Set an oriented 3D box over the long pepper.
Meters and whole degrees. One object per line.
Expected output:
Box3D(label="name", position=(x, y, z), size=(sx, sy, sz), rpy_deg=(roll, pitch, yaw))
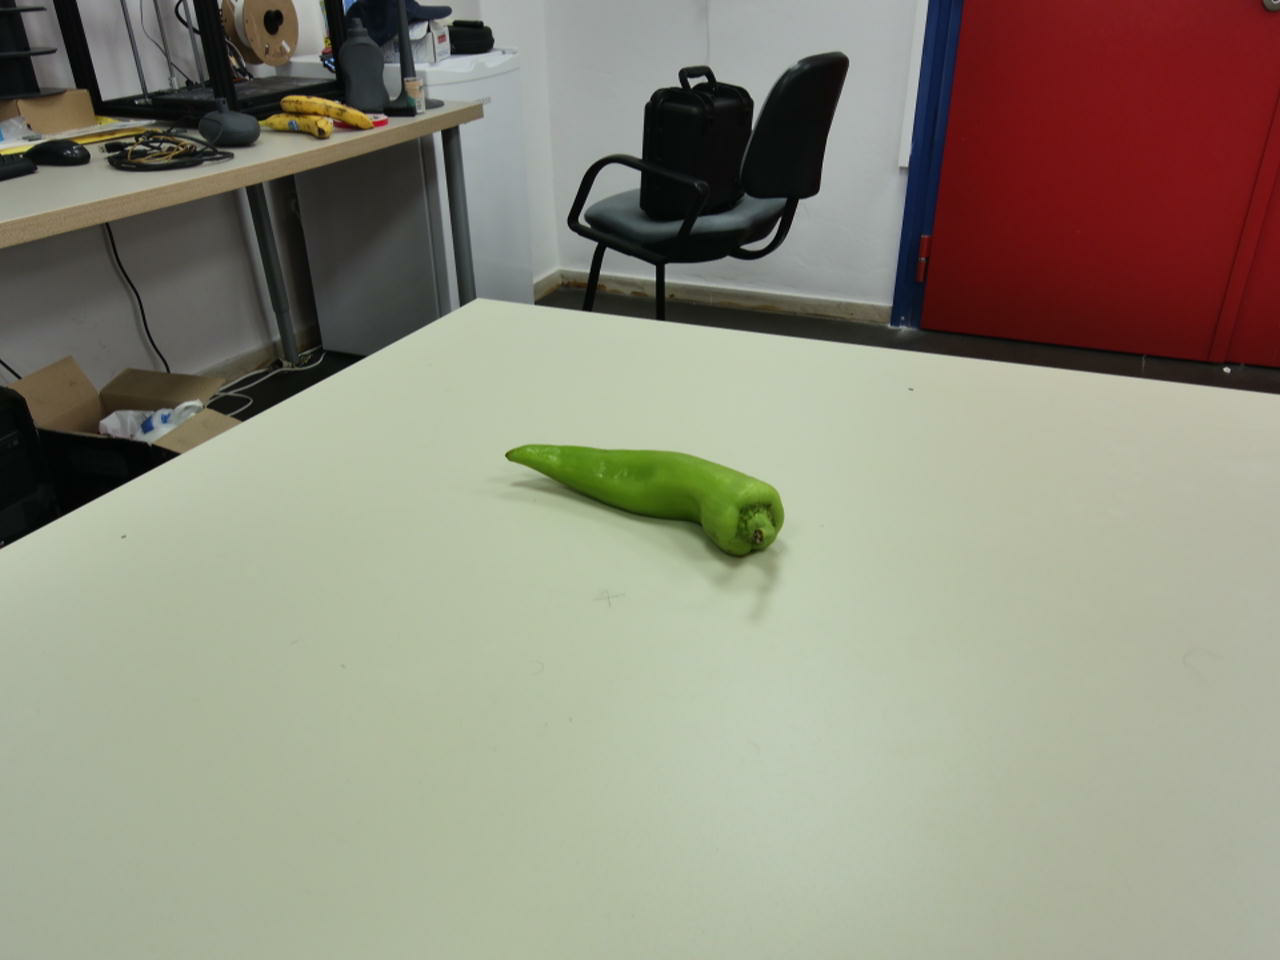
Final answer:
Box3D(label="long pepper", position=(0.010, 0.003, 0.617), size=(0.205, 0.045, 0.065), rpy_deg=(20, 32, 36))
